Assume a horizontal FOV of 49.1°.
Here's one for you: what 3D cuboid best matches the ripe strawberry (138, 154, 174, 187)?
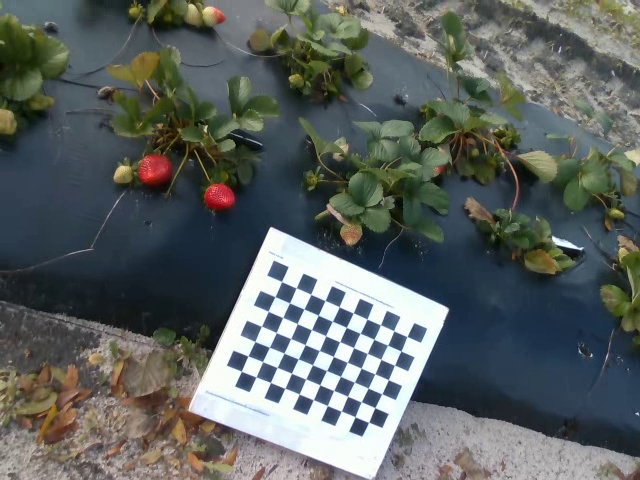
[{"bbox_3d":[-0.157,-0.068,0.668,0.035,0.041,0.036,9,27,-8],"label":"ripe strawberry"}]

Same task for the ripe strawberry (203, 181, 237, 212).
[{"bbox_3d":[-0.095,-0.043,0.686,0.034,0.037,0.039,34,8,-32],"label":"ripe strawberry"}]
